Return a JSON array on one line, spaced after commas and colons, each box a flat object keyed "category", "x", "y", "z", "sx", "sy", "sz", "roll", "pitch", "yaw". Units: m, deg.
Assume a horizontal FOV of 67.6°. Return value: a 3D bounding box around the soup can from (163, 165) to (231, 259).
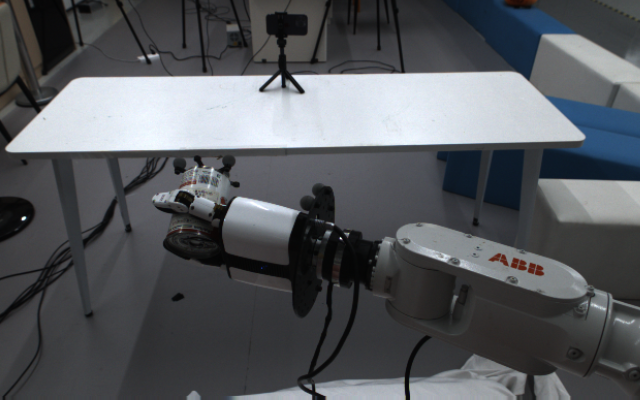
[{"category": "soup can", "x": -0.155, "y": 0.016, "z": 0.622, "sx": 0.067, "sy": 0.067, "sz": 0.101, "roll": 3, "pitch": 58, "yaw": 1}]
